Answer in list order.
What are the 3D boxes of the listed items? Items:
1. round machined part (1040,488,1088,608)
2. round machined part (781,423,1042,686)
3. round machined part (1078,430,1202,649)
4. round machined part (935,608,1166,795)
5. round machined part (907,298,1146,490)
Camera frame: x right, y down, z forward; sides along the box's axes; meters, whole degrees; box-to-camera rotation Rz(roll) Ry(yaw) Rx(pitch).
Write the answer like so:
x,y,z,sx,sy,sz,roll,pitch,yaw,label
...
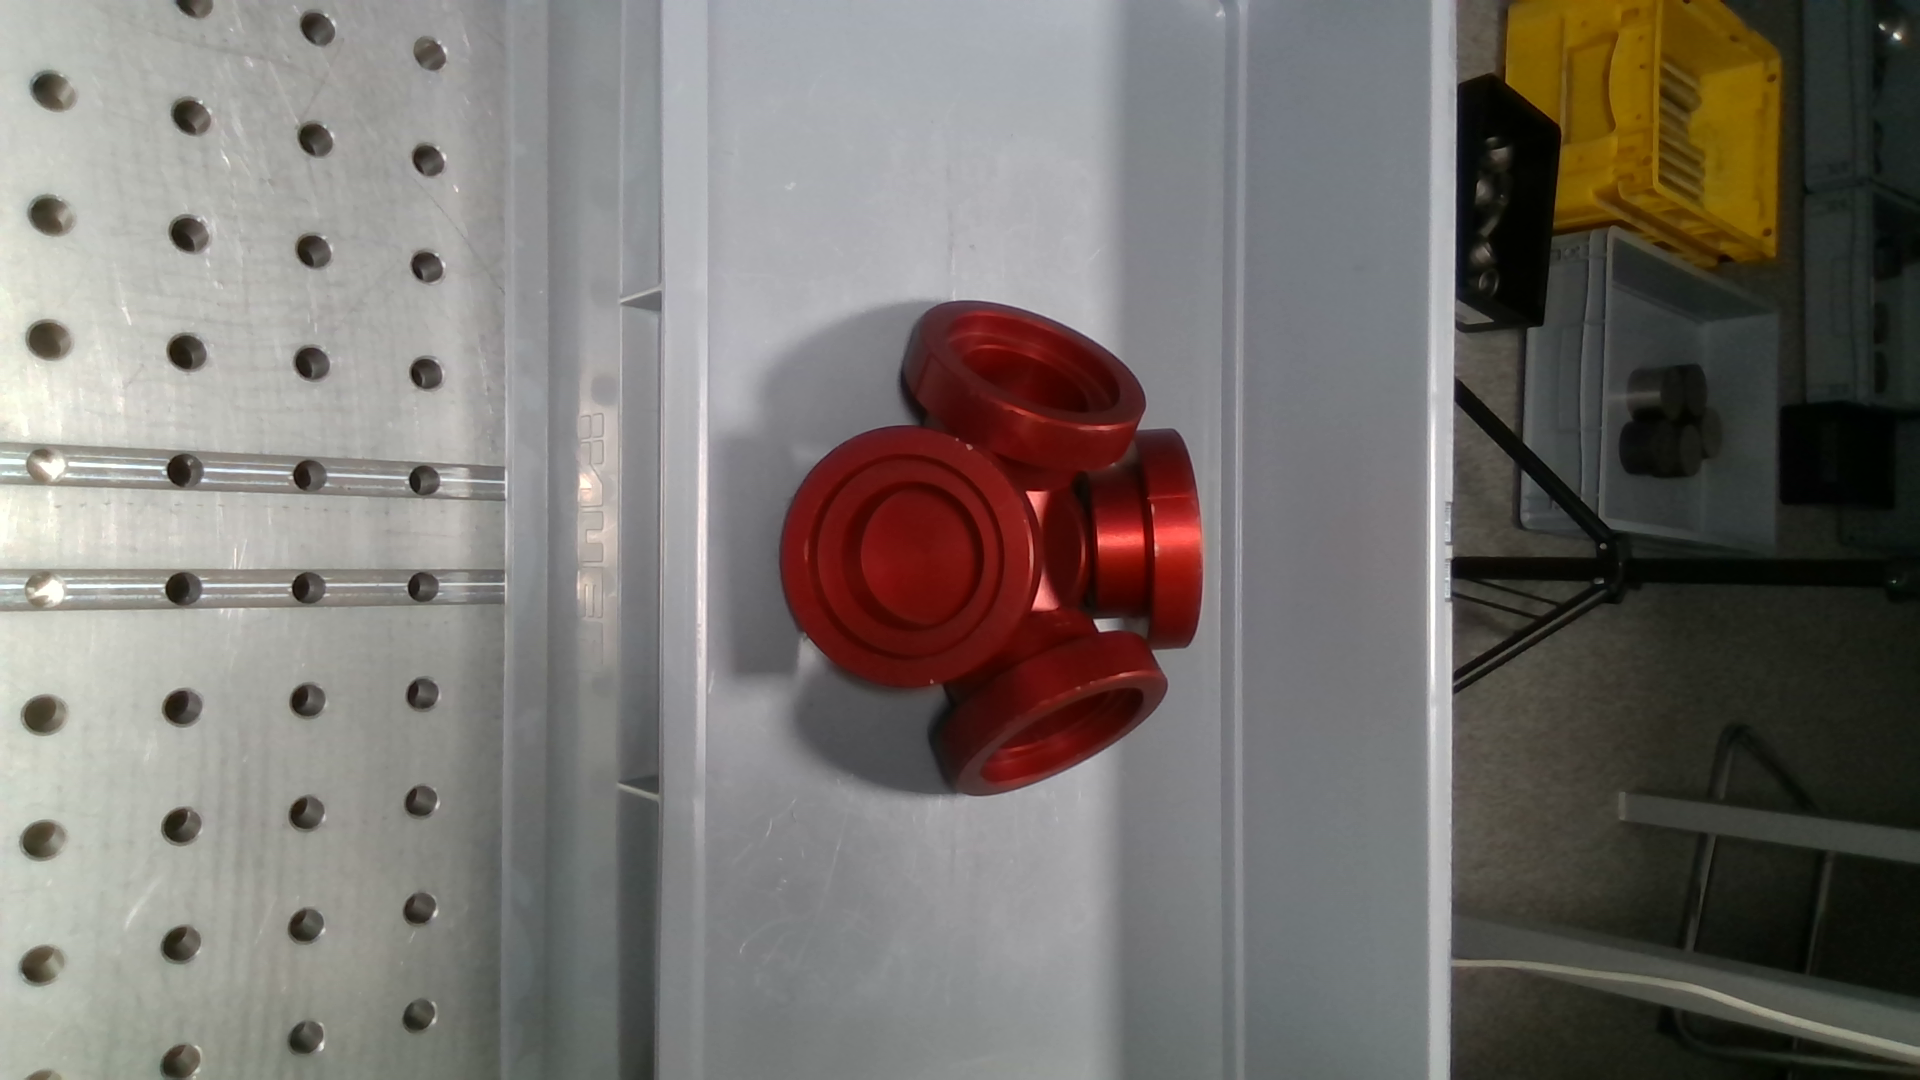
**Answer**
x,y,z,sx,sy,sz,roll,pitch,yaw,label
0.018,0.004,0.585,0.098,0.042,0.098,0,90,-40,round machined part
-0.016,0.005,0.532,0.042,0.098,0.098,-5,94,-76,round machined part
0.076,0.000,0.610,0.042,0.098,0.098,-3,92,-2,round machined part
0.034,0.064,0.576,0.098,0.098,0.042,-4,56,-40,round machined part
0.023,-0.057,0.566,0.098,0.098,0.042,-8,133,-40,round machined part
